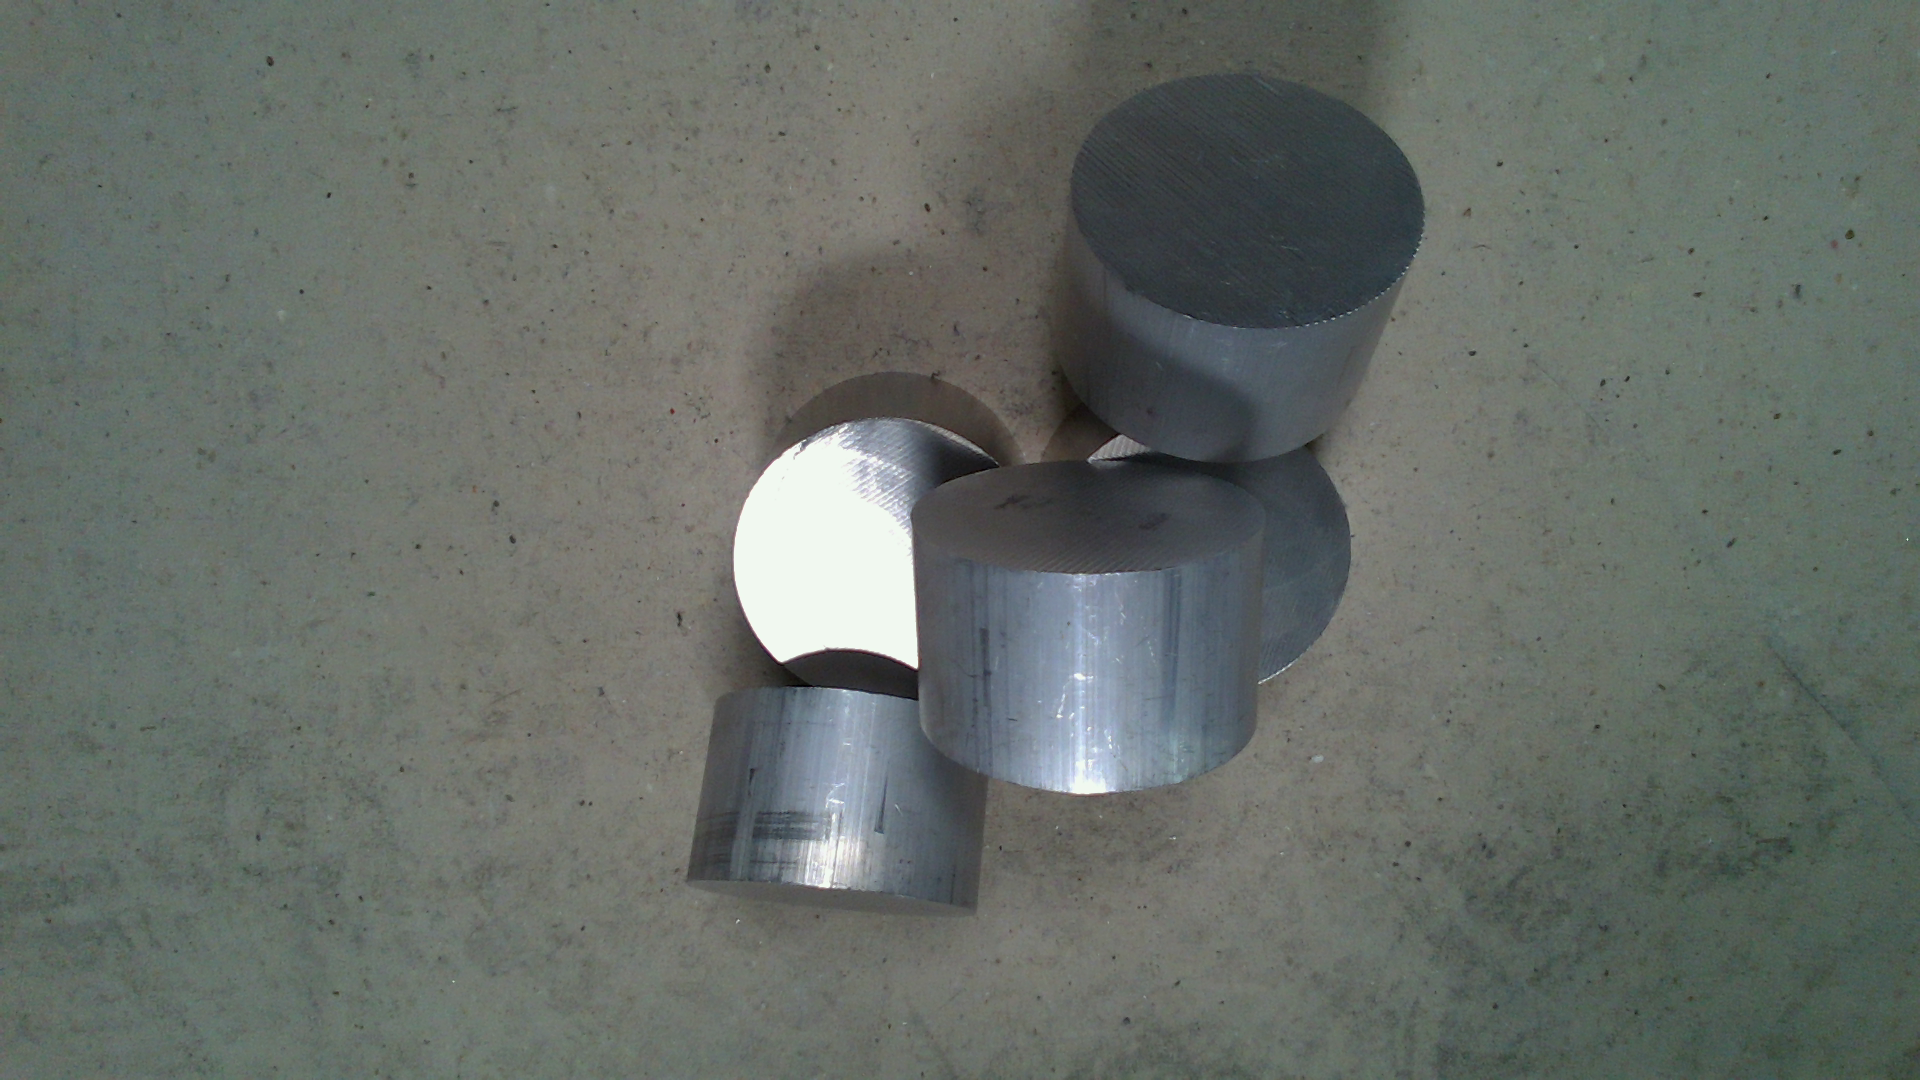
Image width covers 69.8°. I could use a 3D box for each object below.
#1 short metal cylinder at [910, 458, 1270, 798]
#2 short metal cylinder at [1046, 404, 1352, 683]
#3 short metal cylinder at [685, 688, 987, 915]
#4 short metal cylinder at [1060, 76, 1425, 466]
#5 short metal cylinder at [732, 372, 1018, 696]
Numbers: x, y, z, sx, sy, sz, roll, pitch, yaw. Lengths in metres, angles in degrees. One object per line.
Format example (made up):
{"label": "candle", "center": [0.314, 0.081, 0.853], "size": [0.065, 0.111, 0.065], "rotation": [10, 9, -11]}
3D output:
{"label": "short metal cylinder", "center": [0.029, 0.017, 0.318], "size": [0.080, 0.080, 0.050], "rotation": [-1, 110, 0]}
{"label": "short metal cylinder", "center": [0.061, -0.003, 0.379], "size": [0.080, 0.050, 0.080], "rotation": [0, 110, 0]}
{"label": "short metal cylinder", "center": [-0.033, 0.076, 0.385], "size": [0.080, 0.080, 0.050], "rotation": [7, 71, -3]}
{"label": "short metal cylinder", "center": [0.065, -0.065, 0.333], "size": [0.080, 0.080, 0.050], "rotation": [1, 148, 0]}
{"label": "short metal cylinder", "center": [-0.019, -0.002, 0.379], "size": [0.080, 0.050, 0.080], "rotation": [0, 110, 0]}
